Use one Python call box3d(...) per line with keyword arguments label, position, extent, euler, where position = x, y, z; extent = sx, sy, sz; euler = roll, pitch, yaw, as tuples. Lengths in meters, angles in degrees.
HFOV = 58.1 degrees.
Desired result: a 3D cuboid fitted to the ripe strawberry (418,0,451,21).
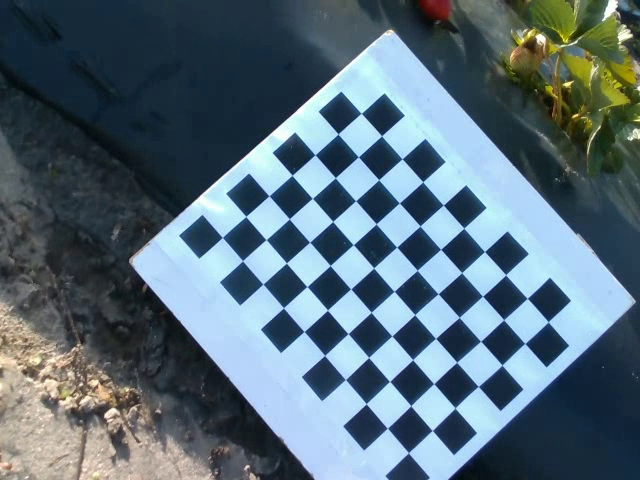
box3d(label="ripe strawberry", position=(0.102, -0.201, 0.495), extent=(0.030, 0.045, 0.033), euler=(-13, -34, 3))
